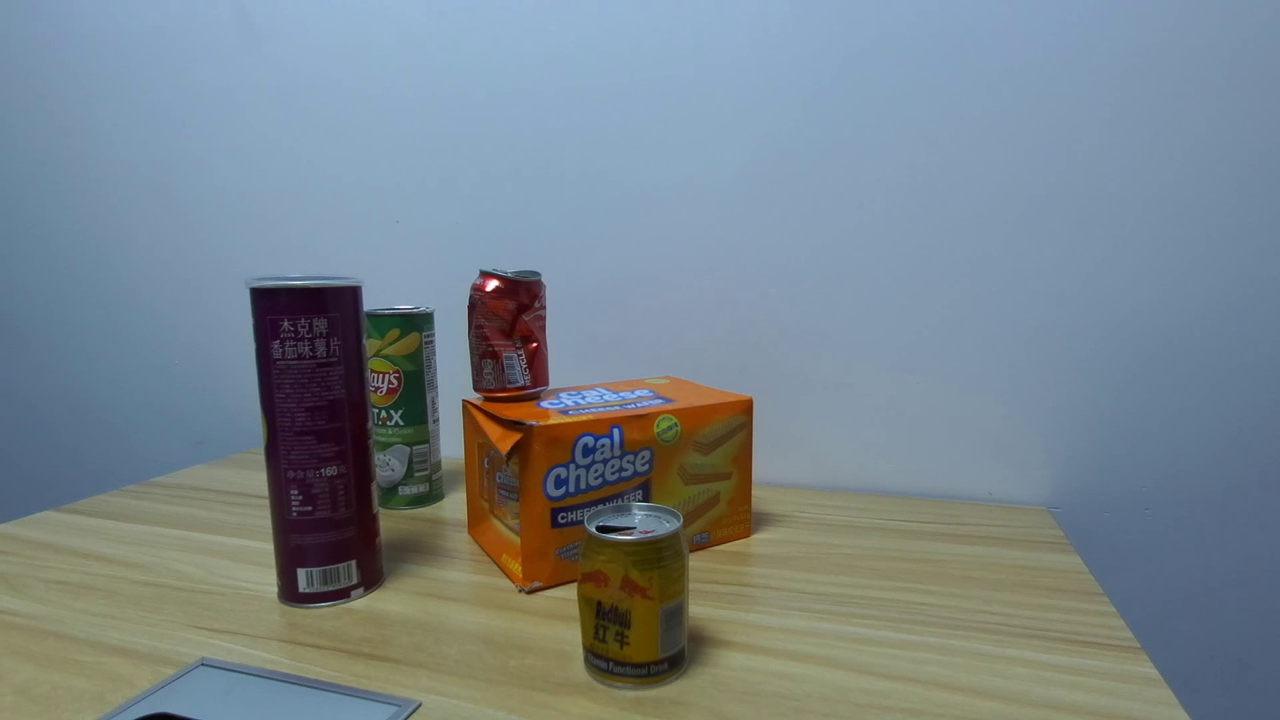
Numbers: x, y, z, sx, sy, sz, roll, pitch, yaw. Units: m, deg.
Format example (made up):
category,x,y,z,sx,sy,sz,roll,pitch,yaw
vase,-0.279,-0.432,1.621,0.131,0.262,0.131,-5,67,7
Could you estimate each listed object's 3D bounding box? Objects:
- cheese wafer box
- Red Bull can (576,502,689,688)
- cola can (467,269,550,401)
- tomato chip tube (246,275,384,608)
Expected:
category,x,y,z,sx,sy,sz,roll,pitch,yaw
cheese wafer box,-0.029,0.092,0.624,0.228,0.137,0.149,-5,9,-30
Red Bull can,-0.003,0.139,0.429,0.069,0.092,0.069,0,10,0
cola can,-0.115,-0.023,0.616,0.069,0.112,0.065,-1,9,-12
tomato chip tube,-0.239,0.059,0.526,0.078,0.233,0.078,-1,8,0
